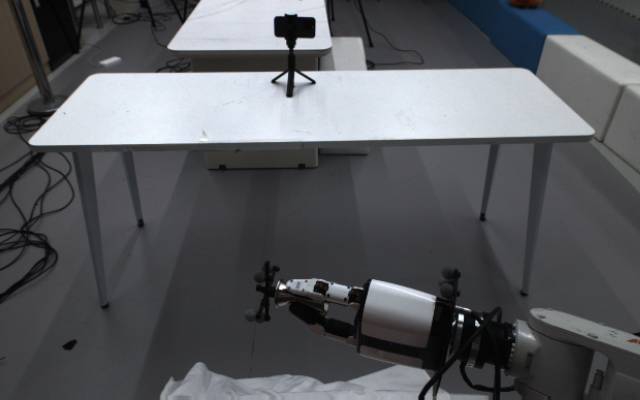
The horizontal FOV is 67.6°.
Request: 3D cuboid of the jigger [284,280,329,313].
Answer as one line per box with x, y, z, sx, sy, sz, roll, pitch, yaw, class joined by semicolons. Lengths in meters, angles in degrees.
-0.016;0.126;0.654;0.071;0.043;0.043;5;35;11;jigger
